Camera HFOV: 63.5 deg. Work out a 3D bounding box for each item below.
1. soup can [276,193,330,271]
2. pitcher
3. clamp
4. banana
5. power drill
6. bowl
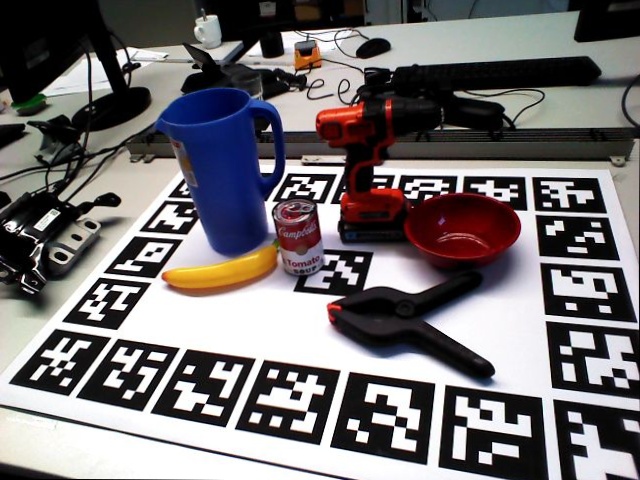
[{"bbox_3d":[-0.023,-0.013,0.764,0.068,0.102,0.067,-7,30,3],"label":"soup can"},{"bbox_3d":[-0.135,-0.111,0.801,0.189,0.243,0.133,-13,35,-2],"label":"pitcher"},{"bbox_3d":[0.113,0.085,0.643,0.204,0.037,0.164,0,43,15],"label":"clamp"},{"bbox_3d":[-0.149,0.040,0.784,0.197,0.039,0.074,-13,29,-4],"label":"banana"},{"bbox_3d":[0.104,-0.119,0.762,0.185,0.187,0.057,-1,39,13],"label":"power drill"},{"bbox_3d":[0.208,-0.014,0.739,0.162,0.055,0.161,-8,39,6],"label":"bowl"}]
